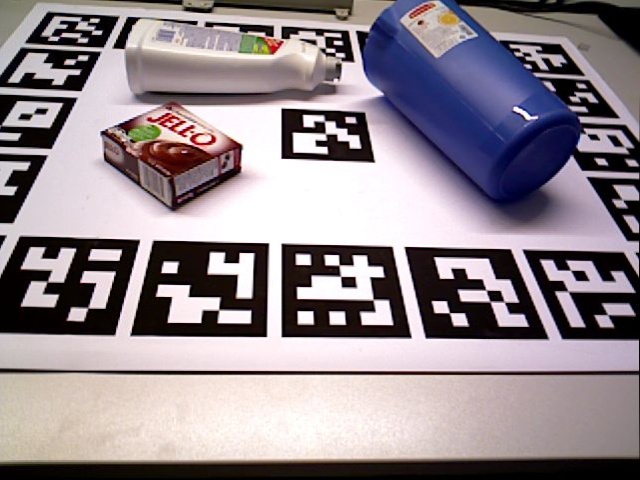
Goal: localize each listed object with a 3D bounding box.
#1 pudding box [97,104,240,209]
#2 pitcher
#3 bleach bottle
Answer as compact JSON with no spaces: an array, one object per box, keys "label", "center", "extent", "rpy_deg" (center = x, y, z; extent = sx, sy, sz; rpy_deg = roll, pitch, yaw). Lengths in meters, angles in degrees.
[{"label":"pudding box","center":[-0.149,-0.086,0.531],"extent":[0.114,0.039,0.088],"rpy_deg":[37,47,24]},{"label":"pitcher","center":[0.166,-0.140,0.589],"extent":[0.186,0.136,0.241],"rpy_deg":[12,38,-48]},{"label":"bleach bottle","center":[-0.100,-0.212,0.650],"extent":[0.248,0.069,0.101],"rpy_deg":[1,50,-9]}]
